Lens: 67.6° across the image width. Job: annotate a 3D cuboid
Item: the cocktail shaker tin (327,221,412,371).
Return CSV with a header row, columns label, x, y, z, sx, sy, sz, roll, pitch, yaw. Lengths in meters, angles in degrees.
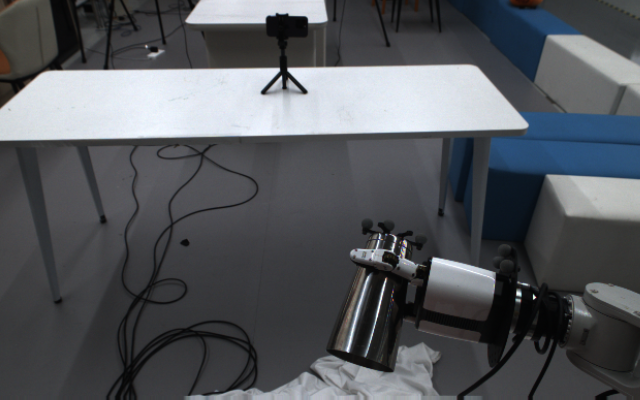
label,x,y,z,sx,sy,sz,roll,pitch,yaw
cocktail shaker tin,0.080,0.131,0.658,0.093,0.093,0.170,12,64,14
